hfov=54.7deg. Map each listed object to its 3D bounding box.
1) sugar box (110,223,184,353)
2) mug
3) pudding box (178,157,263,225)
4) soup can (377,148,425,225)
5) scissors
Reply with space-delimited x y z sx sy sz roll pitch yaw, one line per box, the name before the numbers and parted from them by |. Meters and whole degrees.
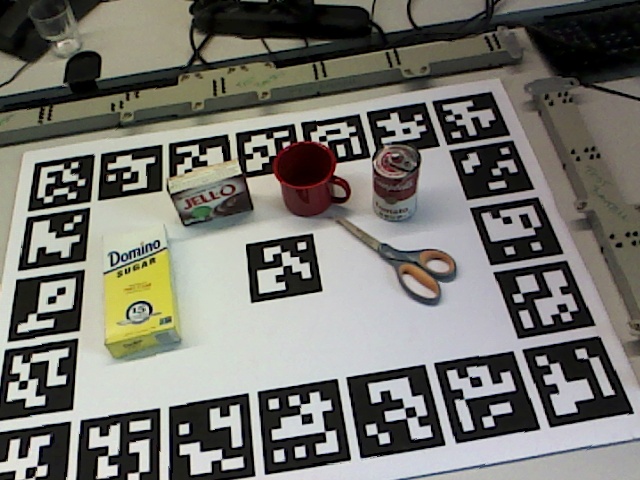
sugar box | -0.250 0.066 0.888 0.093 0.045 0.177 -12 59 1
mug | 0.000 -0.092 0.936 0.093 0.081 0.118 -41 61 -16
pudding box | -0.149 -0.074 0.931 0.114 0.090 0.039 -16 64 -5
soup can | 0.118 -0.077 0.910 0.068 0.101 0.068 -3 56 5
scissors | 0.110 0.025 0.887 0.204 0.016 0.087 35 77 23
